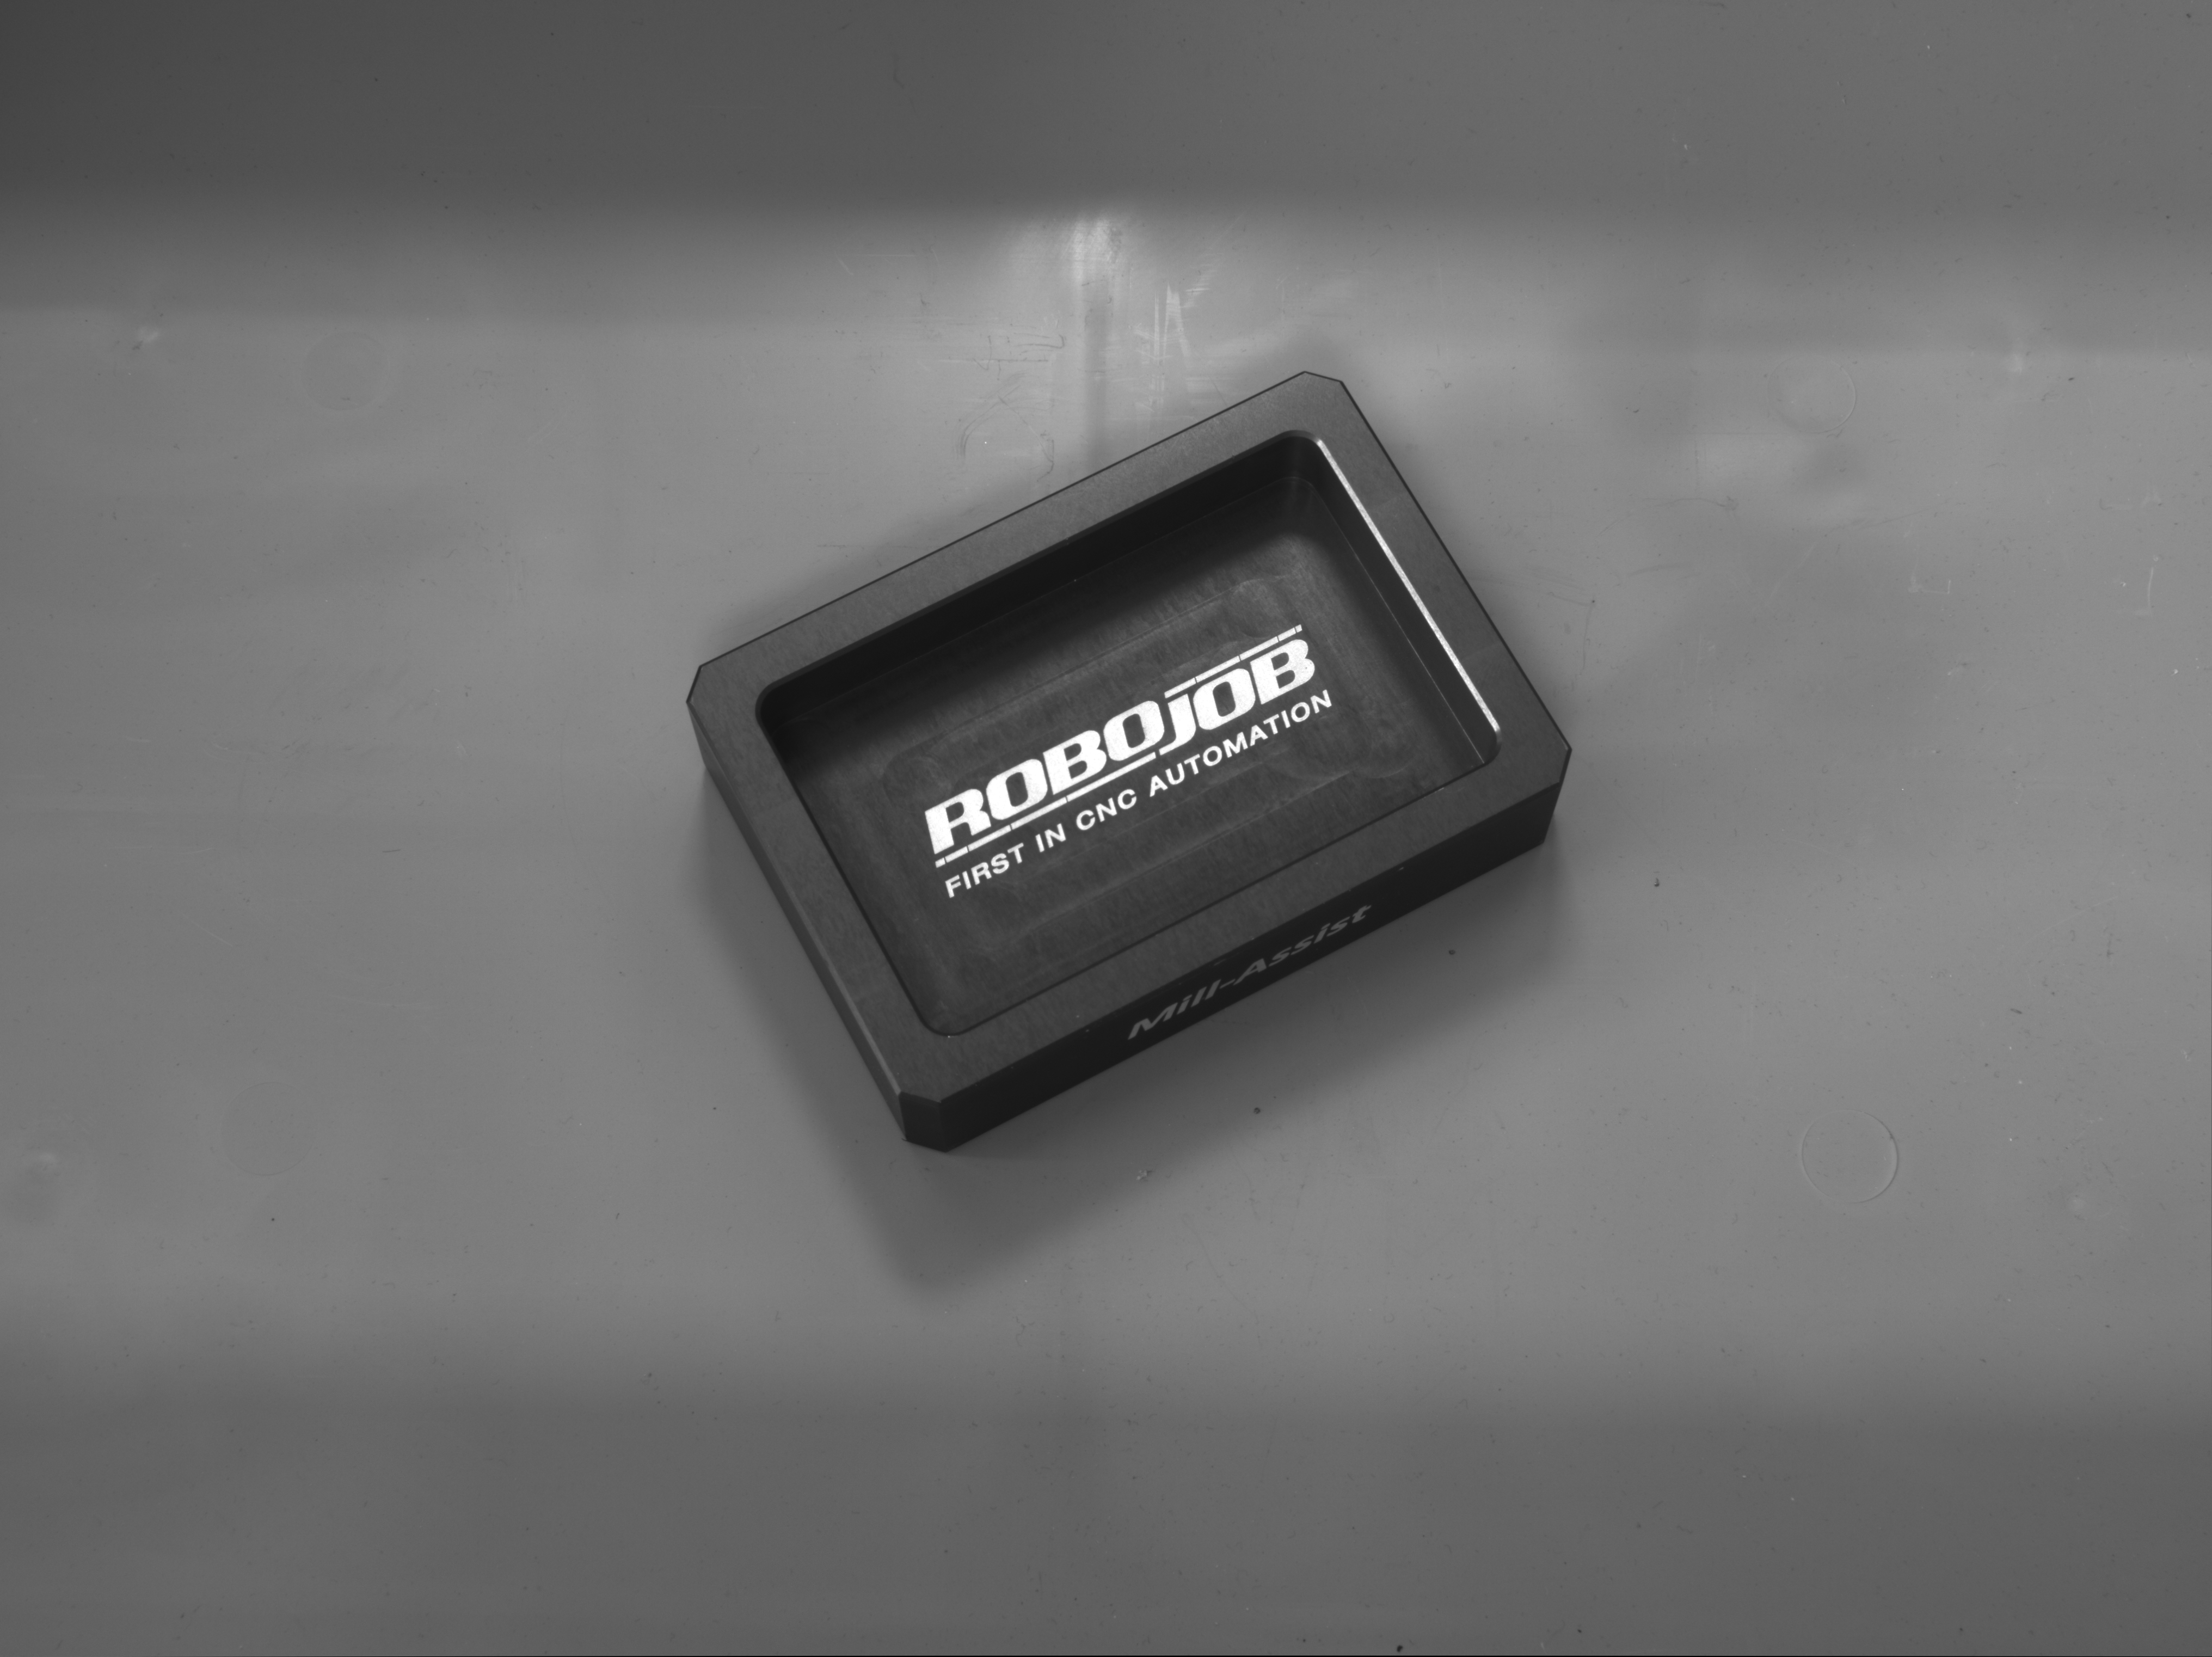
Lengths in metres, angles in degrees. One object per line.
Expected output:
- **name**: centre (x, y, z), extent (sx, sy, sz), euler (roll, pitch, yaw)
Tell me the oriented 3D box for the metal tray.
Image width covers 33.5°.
- **metal tray**: centre (0.004, -0.013, 0.644), extent (0.130, 0.030, 0.090), euler (-27, 72, -10)
